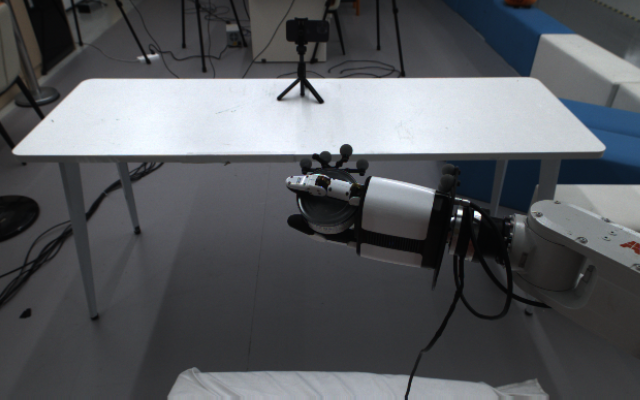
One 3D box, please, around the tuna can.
[{"bbox_3d":[0.014,0.000,0.649,0.085,0.034,0.085,-4,61,7],"label":"tuna can"}]
